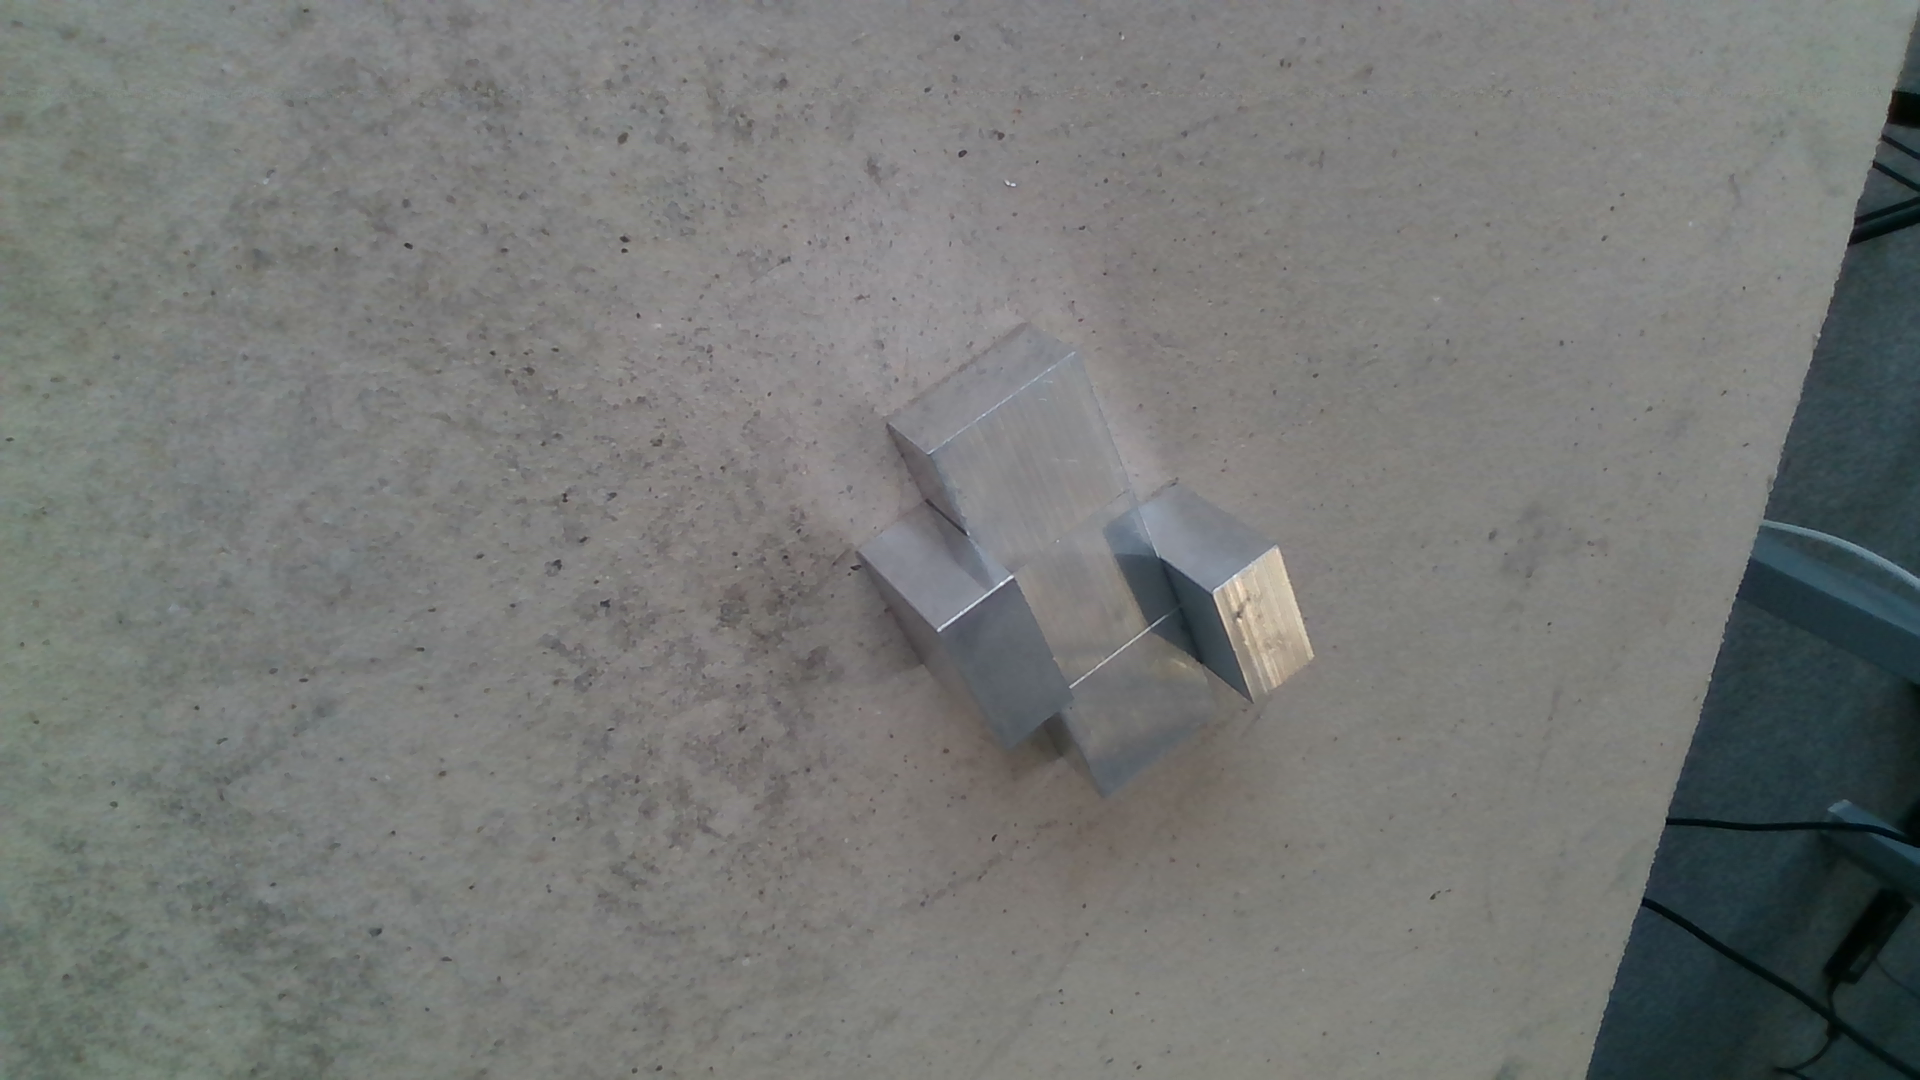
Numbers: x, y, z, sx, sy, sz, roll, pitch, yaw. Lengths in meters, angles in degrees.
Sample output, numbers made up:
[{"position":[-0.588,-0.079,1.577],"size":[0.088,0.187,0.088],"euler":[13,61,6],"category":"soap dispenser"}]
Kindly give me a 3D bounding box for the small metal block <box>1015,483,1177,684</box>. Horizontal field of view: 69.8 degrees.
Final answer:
[{"position":[0.033,0.011,0.416],"size":[0.050,0.025,0.050],"euler":[-35,128,-10],"category":"small metal block"}]

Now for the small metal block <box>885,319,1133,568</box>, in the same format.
[{"position":[0.015,-0.024,0.385],"size":[0.050,0.025,0.050],"euler":[-35,128,-10],"category":"small metal block"}]

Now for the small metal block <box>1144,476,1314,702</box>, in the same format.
[{"position":[0.079,0.015,0.431],"size":[0.025,0.050,0.050],"euler":[-35,127,-11],"category":"small metal block"}]

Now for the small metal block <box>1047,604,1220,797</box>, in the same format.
[{"position":[0.051,0.047,0.446],"size":[0.050,0.025,0.050],"euler":[-35,128,-10],"category":"small metal block"}]

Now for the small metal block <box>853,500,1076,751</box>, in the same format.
[{"position":[0.001,0.023,0.387],"size":[0.025,0.050,0.050],"euler":[-36,128,-11],"category":"small metal block"}]
